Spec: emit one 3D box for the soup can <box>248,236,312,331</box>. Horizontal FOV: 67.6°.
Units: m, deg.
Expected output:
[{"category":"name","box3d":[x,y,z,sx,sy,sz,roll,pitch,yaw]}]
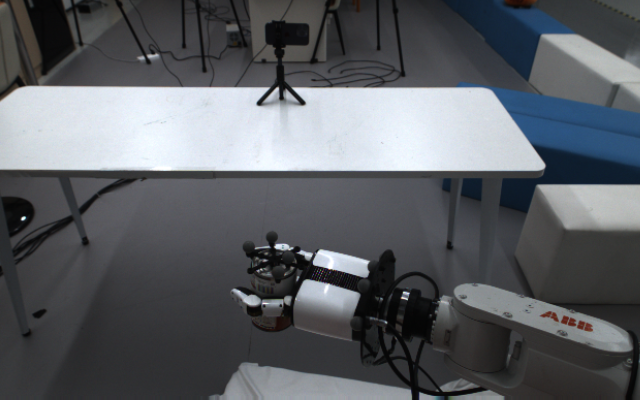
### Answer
[{"category":"soup can","box3d":[-0.066,0.132,0.700,0.067,0.101,0.067,3,30,-2]}]
